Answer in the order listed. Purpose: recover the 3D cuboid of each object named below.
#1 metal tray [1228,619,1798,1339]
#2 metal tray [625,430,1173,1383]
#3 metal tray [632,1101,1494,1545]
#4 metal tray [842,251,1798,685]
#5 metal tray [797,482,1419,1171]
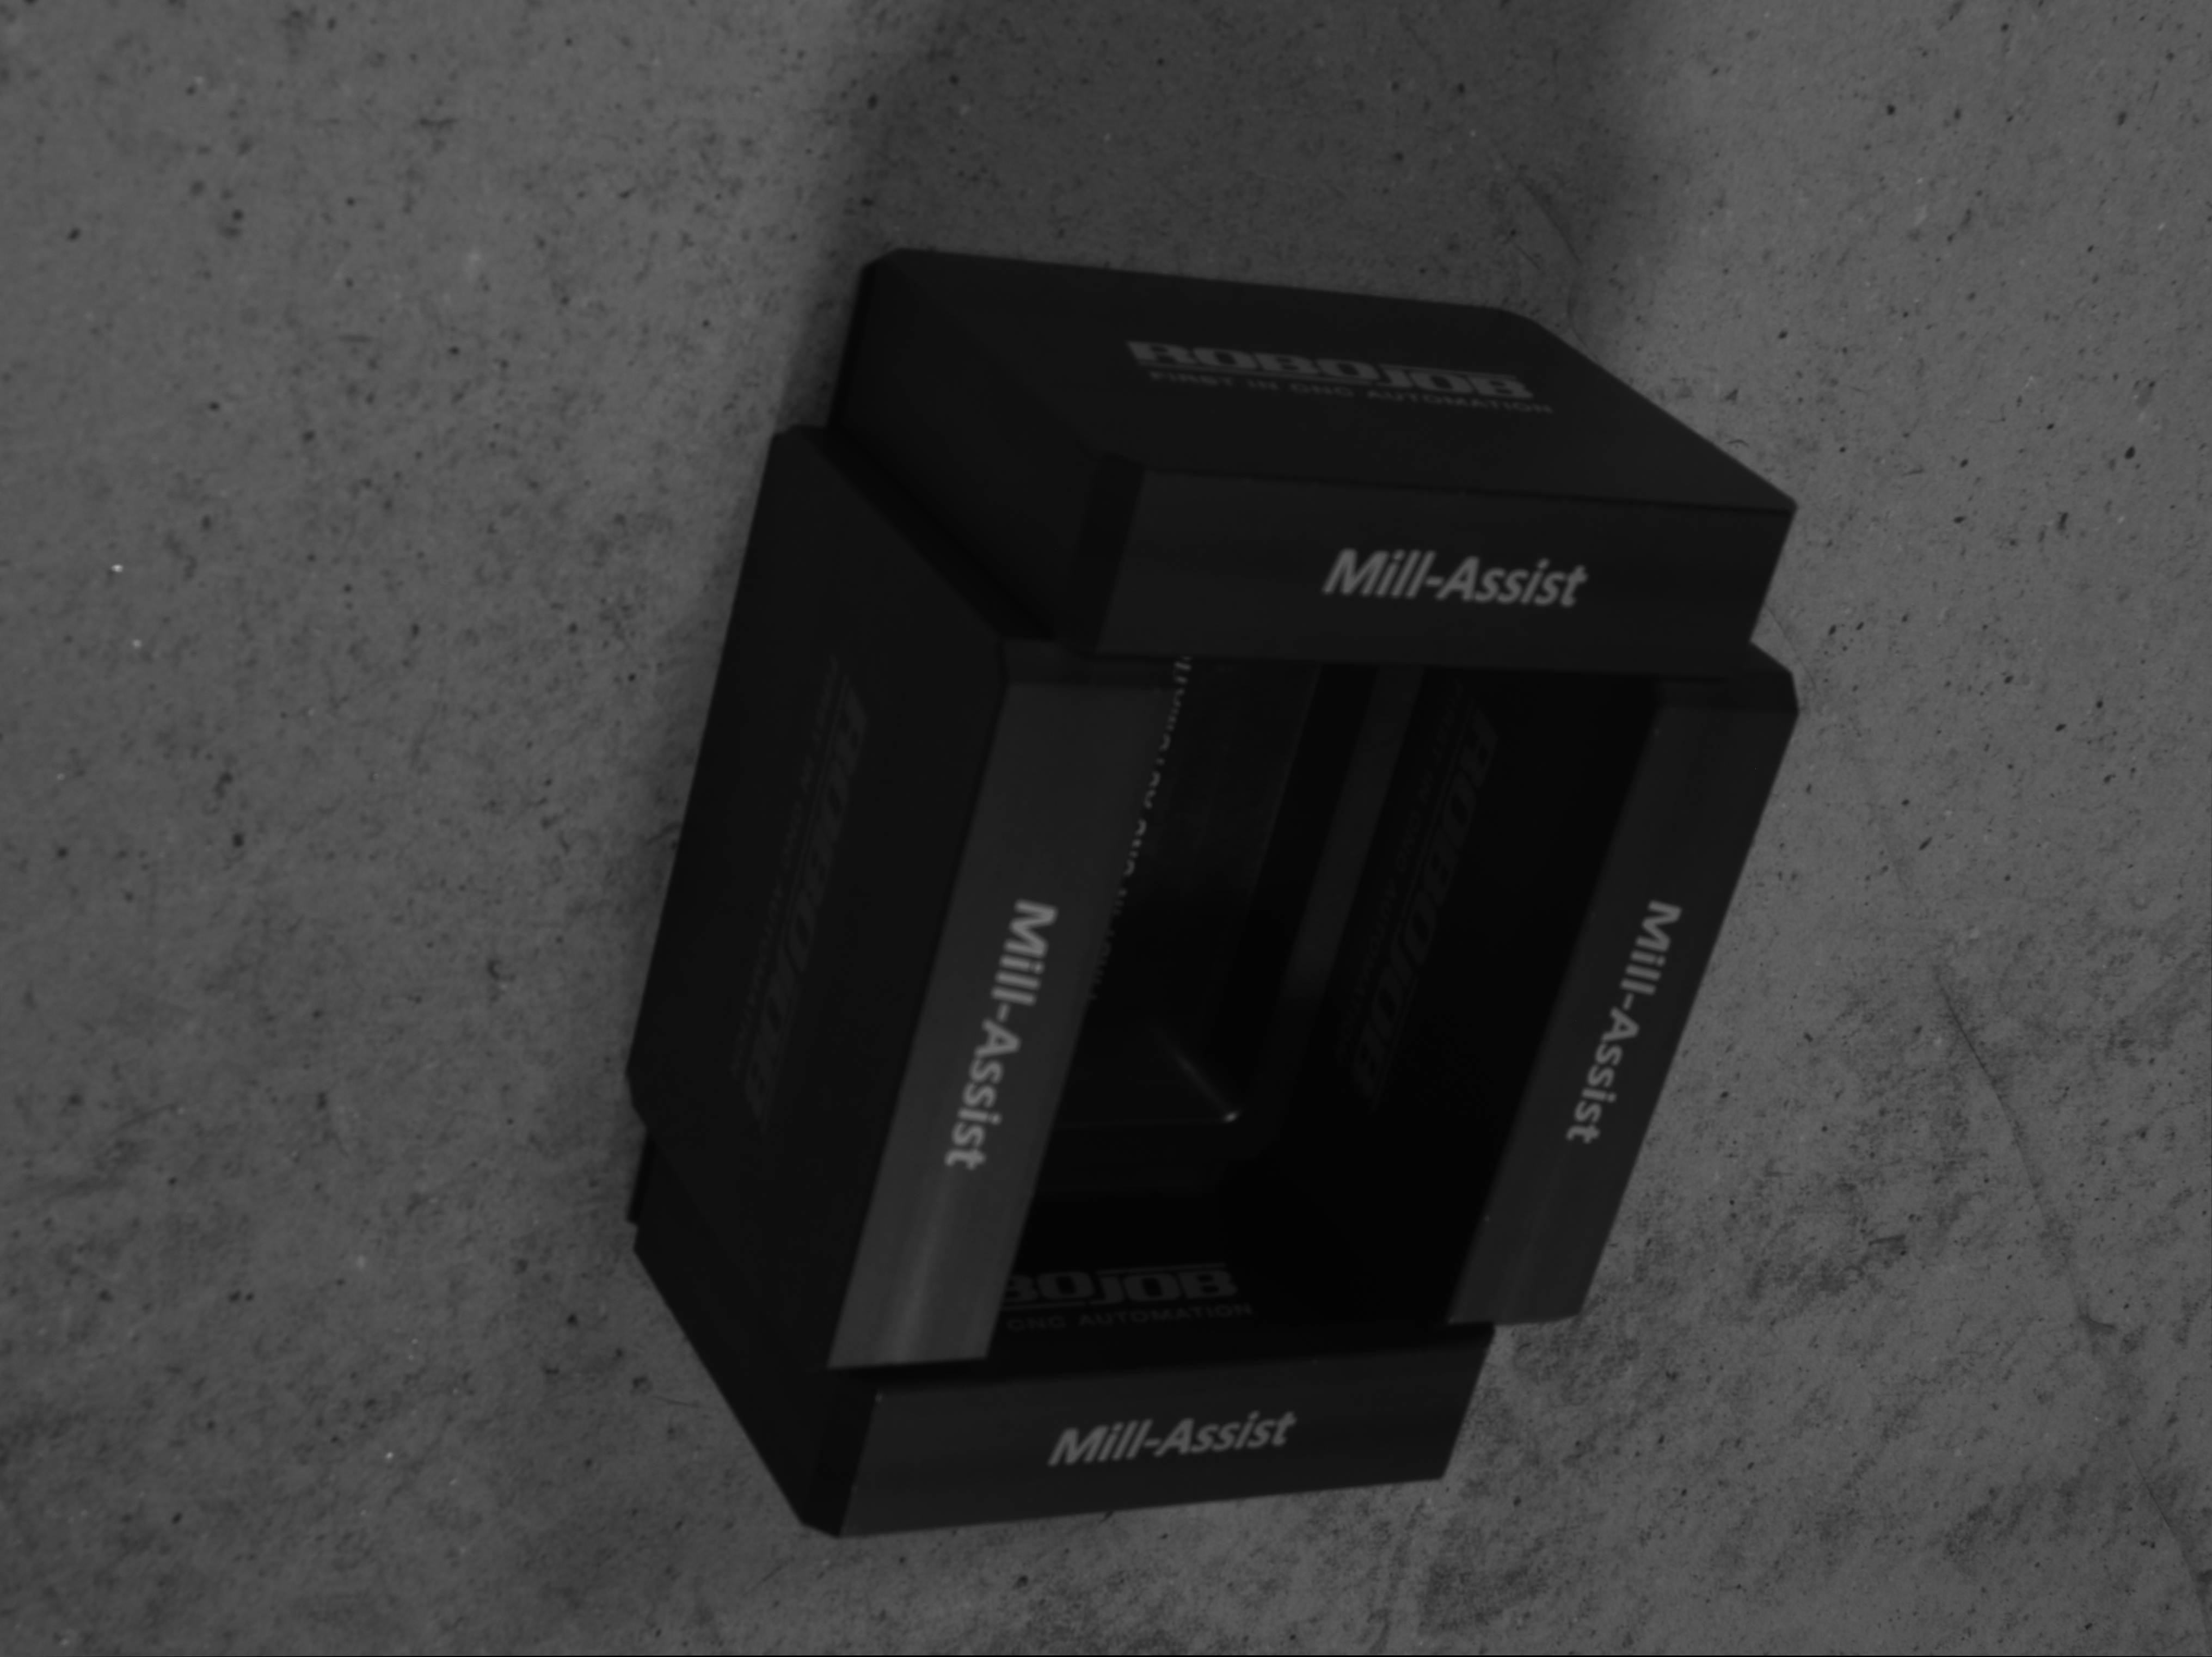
[{"bbox_3d":[0.067,0.014,0.656,0.030,0.090,0.130,1,118,-31],"label":"metal tray"},{"bbox_3d":[-0.037,0.012,0.593,0.030,0.090,0.130,1,118,-31],"label":"metal tray"},{"bbox_3d":[-0.008,0.084,0.655,0.130,0.090,0.030,1,118,-31],"label":"metal tray"},{"bbox_3d":[0.034,-0.058,0.592,0.130,0.090,0.030,1,118,-31],"label":"metal tray"},{"bbox_3d":[0.001,-0.002,0.647,0.090,0.030,0.130,1,118,-31],"label":"metal tray"}]
